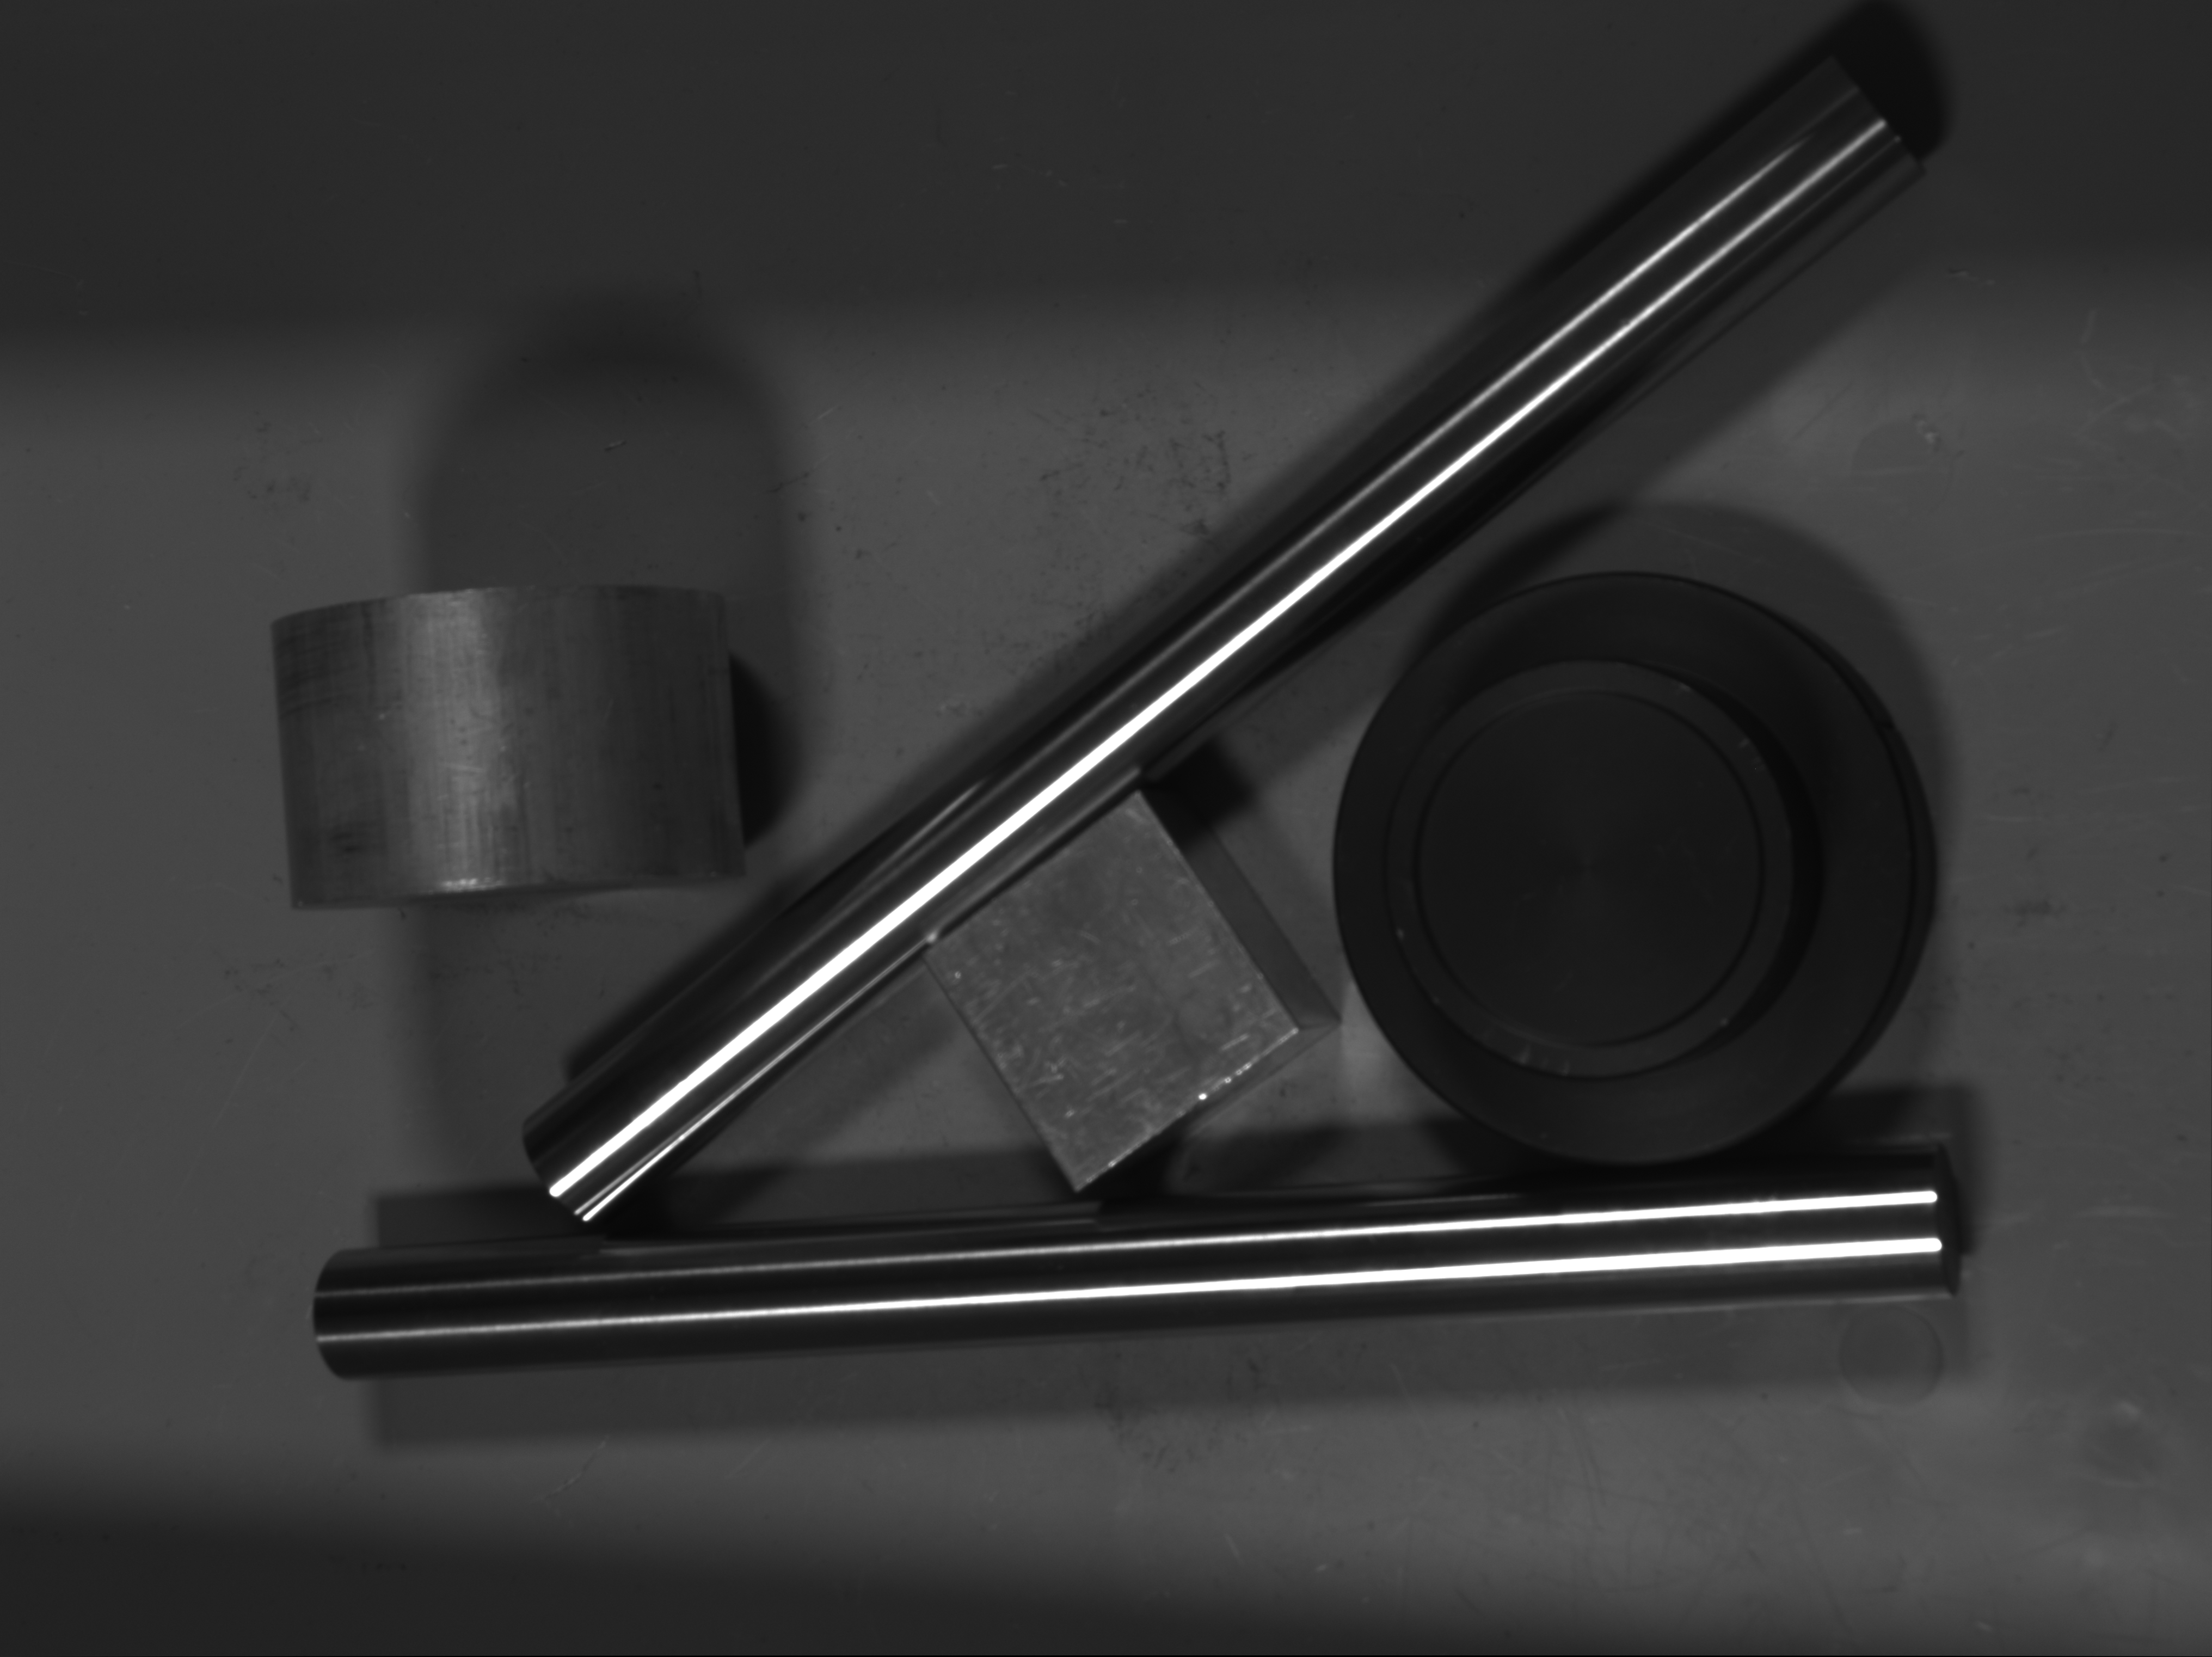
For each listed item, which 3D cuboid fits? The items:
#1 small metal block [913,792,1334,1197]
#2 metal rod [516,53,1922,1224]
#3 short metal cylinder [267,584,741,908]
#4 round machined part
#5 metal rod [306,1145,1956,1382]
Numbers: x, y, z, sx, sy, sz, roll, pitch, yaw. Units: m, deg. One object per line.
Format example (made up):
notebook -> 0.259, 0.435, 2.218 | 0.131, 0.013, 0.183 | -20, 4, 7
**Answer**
small metal block -> 0.003, 0.029, 0.641 | 0.050, 0.025, 0.050 | -37, 78, 16
metal rod -> 0.013, -0.027, 0.639 | 0.300, 0.025, 0.025 | -39, 78, 15
short metal cylinder -> -0.107, -0.014, 0.653 | 0.080, 0.080, 0.050 | -5, 88, 20
round machined part -> 0.083, 0.007, 0.603 | 0.098, 0.042, 0.098 | 0, 90, 20
metal rod -> -0.004, 0.078, 0.645 | 0.299, 0.025, 0.025 | -6, 88, 19
